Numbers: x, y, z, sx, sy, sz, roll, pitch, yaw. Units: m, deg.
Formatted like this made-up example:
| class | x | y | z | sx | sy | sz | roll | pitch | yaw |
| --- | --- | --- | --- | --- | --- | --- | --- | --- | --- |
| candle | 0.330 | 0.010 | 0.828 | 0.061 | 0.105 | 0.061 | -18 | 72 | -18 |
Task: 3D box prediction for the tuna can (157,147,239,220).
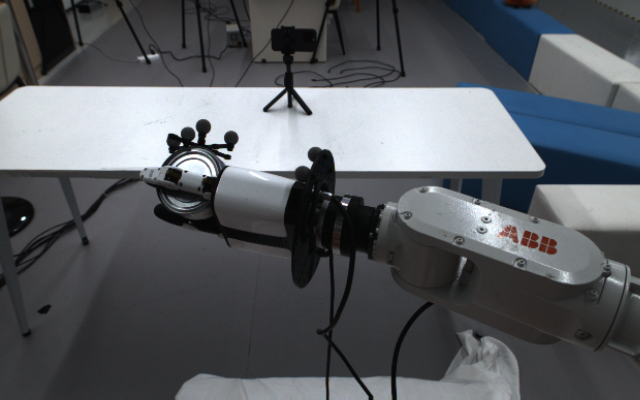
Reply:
| class | x | y | z | sx | sy | sz | roll | pitch | yaw |
| --- | --- | --- | --- | --- | --- | --- | --- | --- | --- |
| tuna can | -0.151 | -0.020 | 0.586 | 0.085 | 0.034 | 0.085 | -5 | 70 | 14 |
